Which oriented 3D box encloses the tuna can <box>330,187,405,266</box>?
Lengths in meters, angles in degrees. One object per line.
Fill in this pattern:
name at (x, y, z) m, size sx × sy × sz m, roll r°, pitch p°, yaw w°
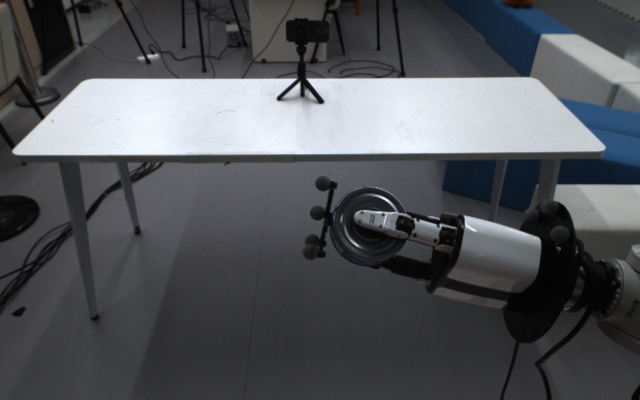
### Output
tuna can at (0.058, 0.032, 0.536) m, size 0.085 × 0.034 × 0.085 m, roll 2°, pitch 73°, yaw -5°
